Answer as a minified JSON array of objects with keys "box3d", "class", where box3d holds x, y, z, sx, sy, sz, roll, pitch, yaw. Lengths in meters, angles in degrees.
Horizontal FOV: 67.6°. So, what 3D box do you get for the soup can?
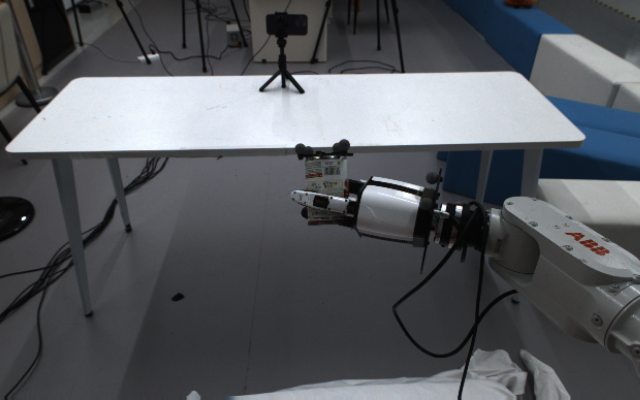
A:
[{"box3d":[0.012,-0.014,0.741,0.067,0.101,0.067,-3,-1,0],"class":"soup can"}]
